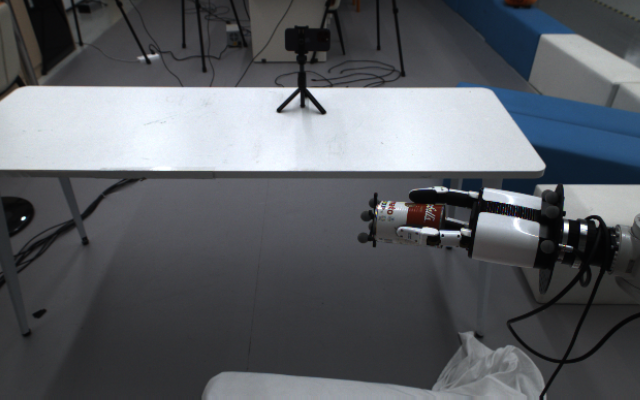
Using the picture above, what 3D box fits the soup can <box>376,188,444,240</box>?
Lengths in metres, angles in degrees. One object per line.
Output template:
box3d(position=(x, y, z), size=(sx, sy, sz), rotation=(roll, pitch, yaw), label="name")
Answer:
box3d(position=(0.142, 0.037, 0.753), size=(0.101, 0.067, 0.067), rotation=(4, 34, 18), label="soup can")
